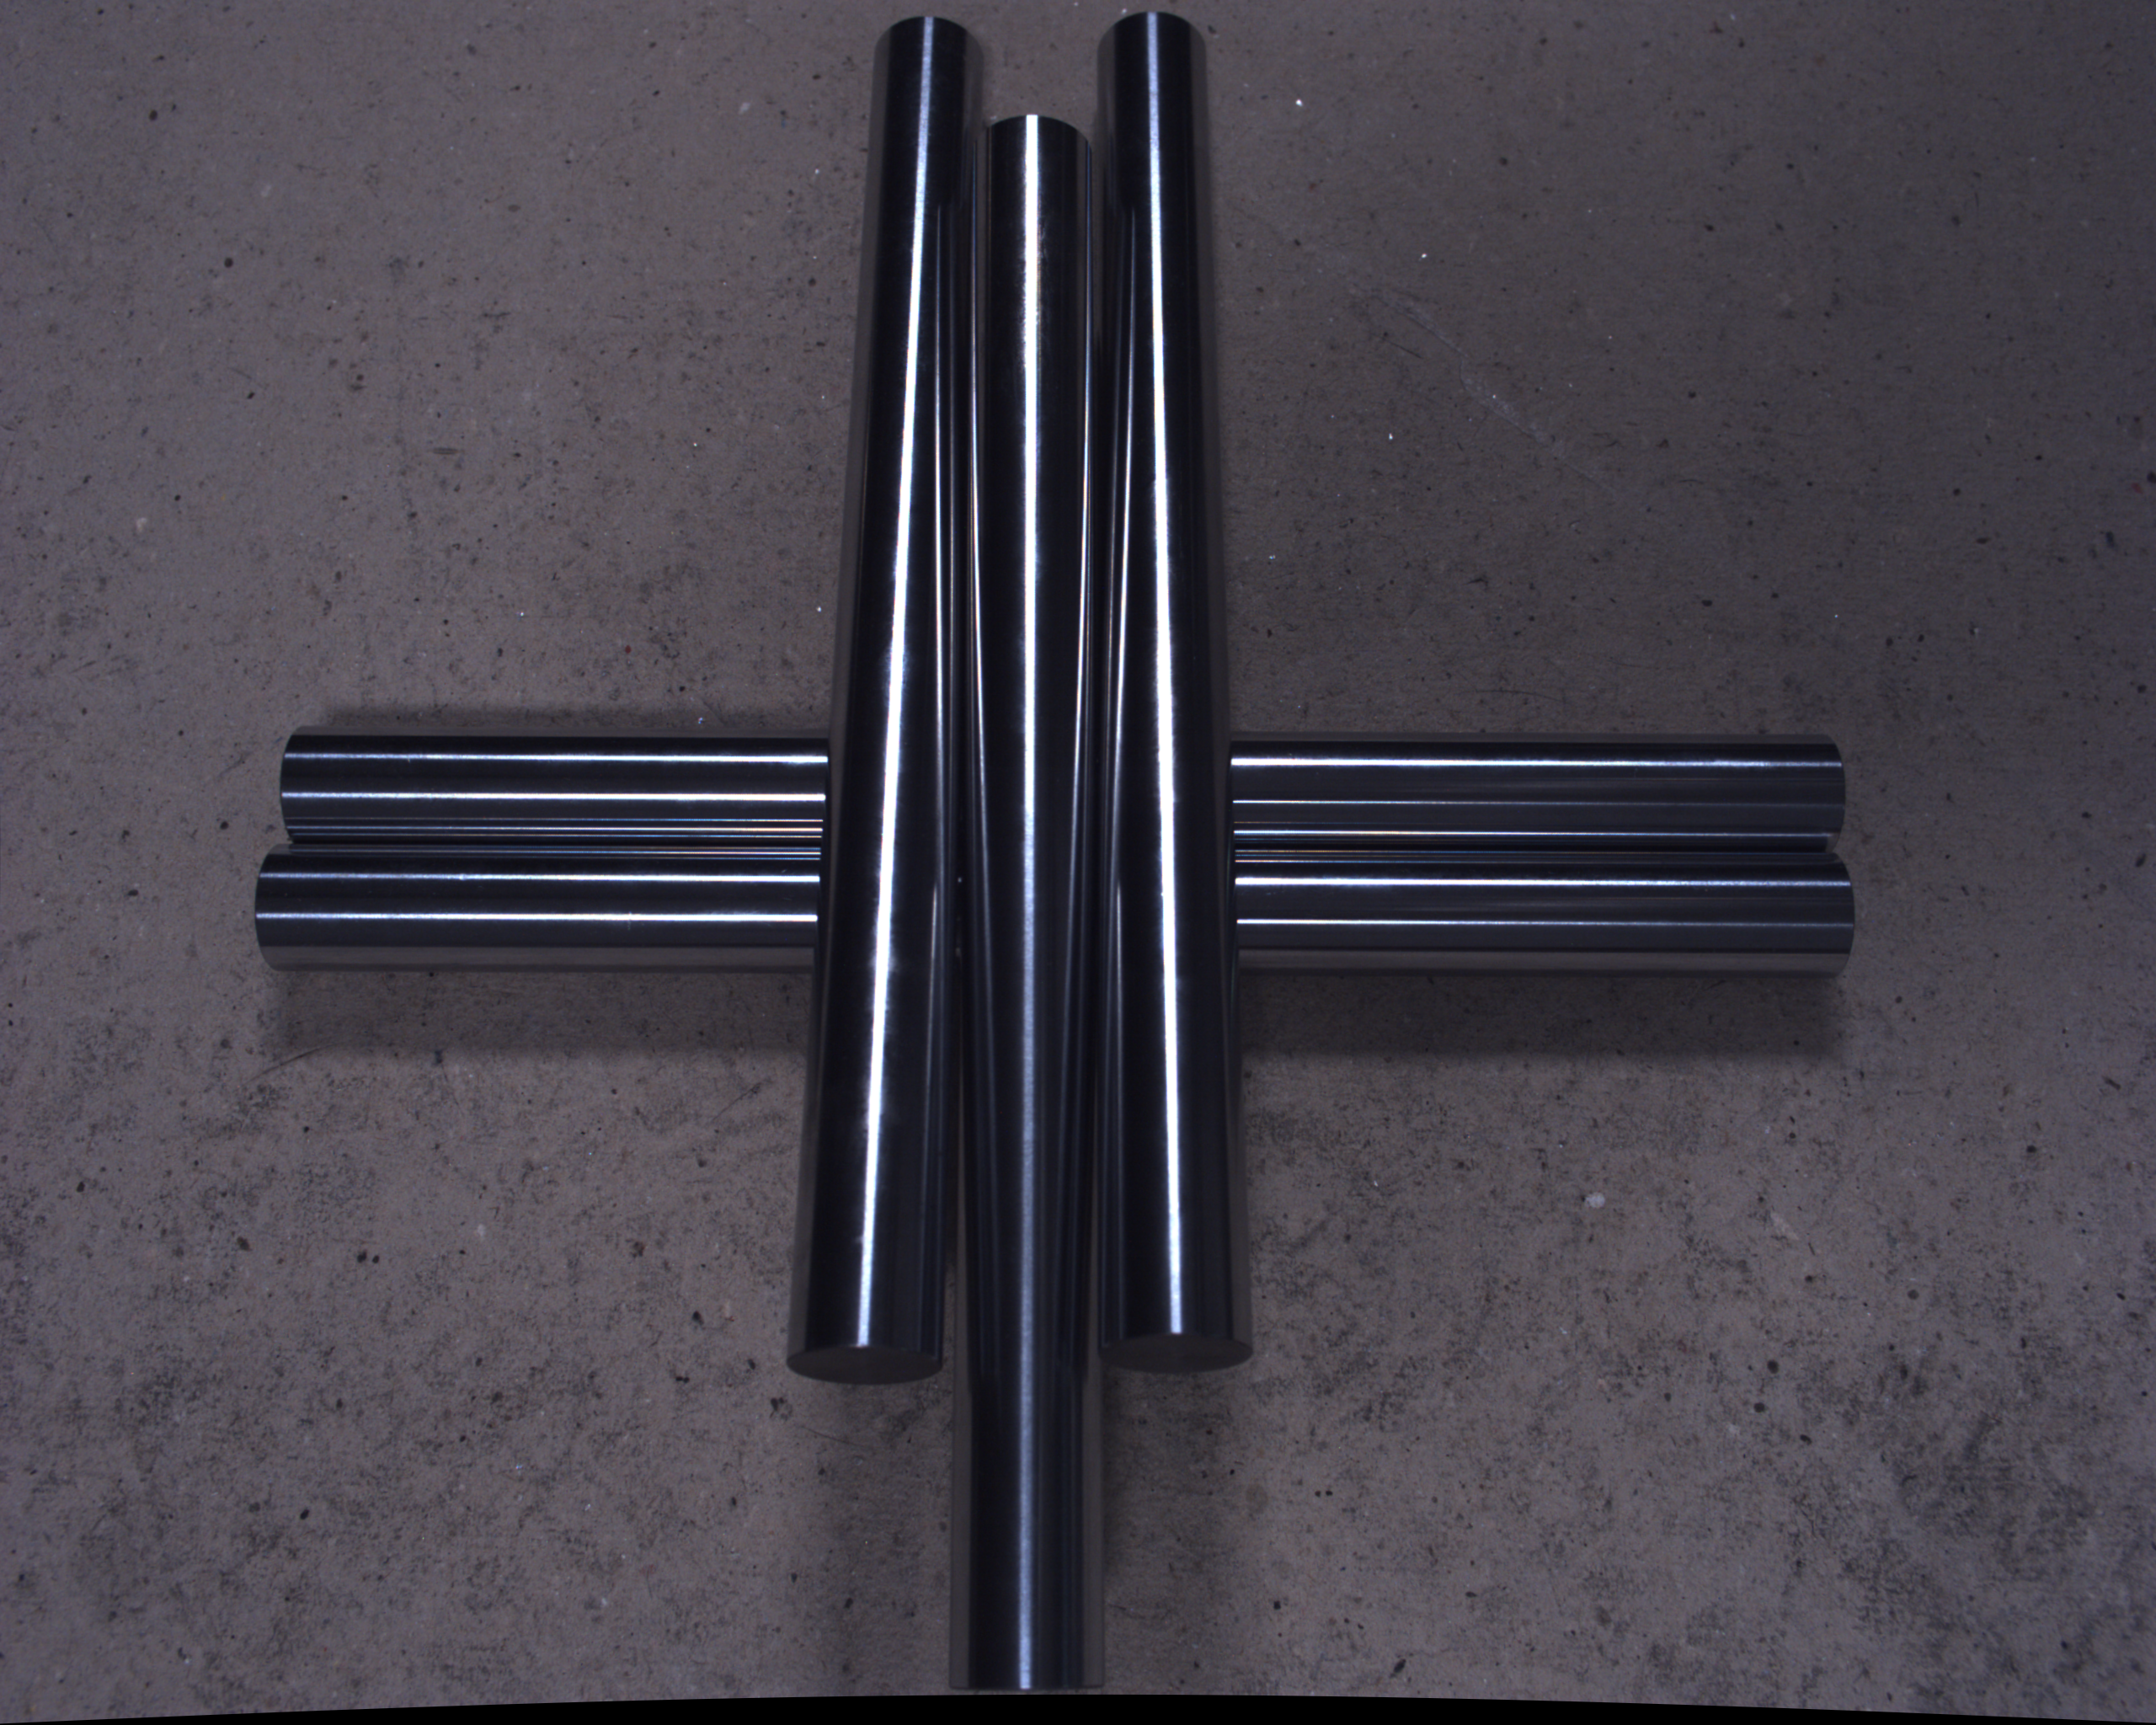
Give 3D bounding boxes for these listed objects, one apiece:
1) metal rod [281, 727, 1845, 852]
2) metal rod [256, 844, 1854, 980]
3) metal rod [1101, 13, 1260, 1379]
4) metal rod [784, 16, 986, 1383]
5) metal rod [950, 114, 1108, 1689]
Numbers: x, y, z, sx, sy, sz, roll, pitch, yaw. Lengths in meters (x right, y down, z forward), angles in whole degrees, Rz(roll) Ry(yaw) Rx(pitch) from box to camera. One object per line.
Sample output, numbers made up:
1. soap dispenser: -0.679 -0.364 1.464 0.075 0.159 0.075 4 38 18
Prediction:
1. metal rod: -0.002 -0.014 0.415 0.302 0.025 0.025 0 70 -1
2. metal rod: -0.004 0.010 0.407 0.302 0.025 0.025 0 70 -1
3. metal rod: 0.017 -0.052 0.406 0.025 0.025 0.299 0 62 0
4. metal rod: -0.034 -0.051 0.405 0.025 0.025 0.299 0 62 0
5. metal rod: -0.008 -0.008 0.385 0.025 0.025 0.299 0 70 -1
